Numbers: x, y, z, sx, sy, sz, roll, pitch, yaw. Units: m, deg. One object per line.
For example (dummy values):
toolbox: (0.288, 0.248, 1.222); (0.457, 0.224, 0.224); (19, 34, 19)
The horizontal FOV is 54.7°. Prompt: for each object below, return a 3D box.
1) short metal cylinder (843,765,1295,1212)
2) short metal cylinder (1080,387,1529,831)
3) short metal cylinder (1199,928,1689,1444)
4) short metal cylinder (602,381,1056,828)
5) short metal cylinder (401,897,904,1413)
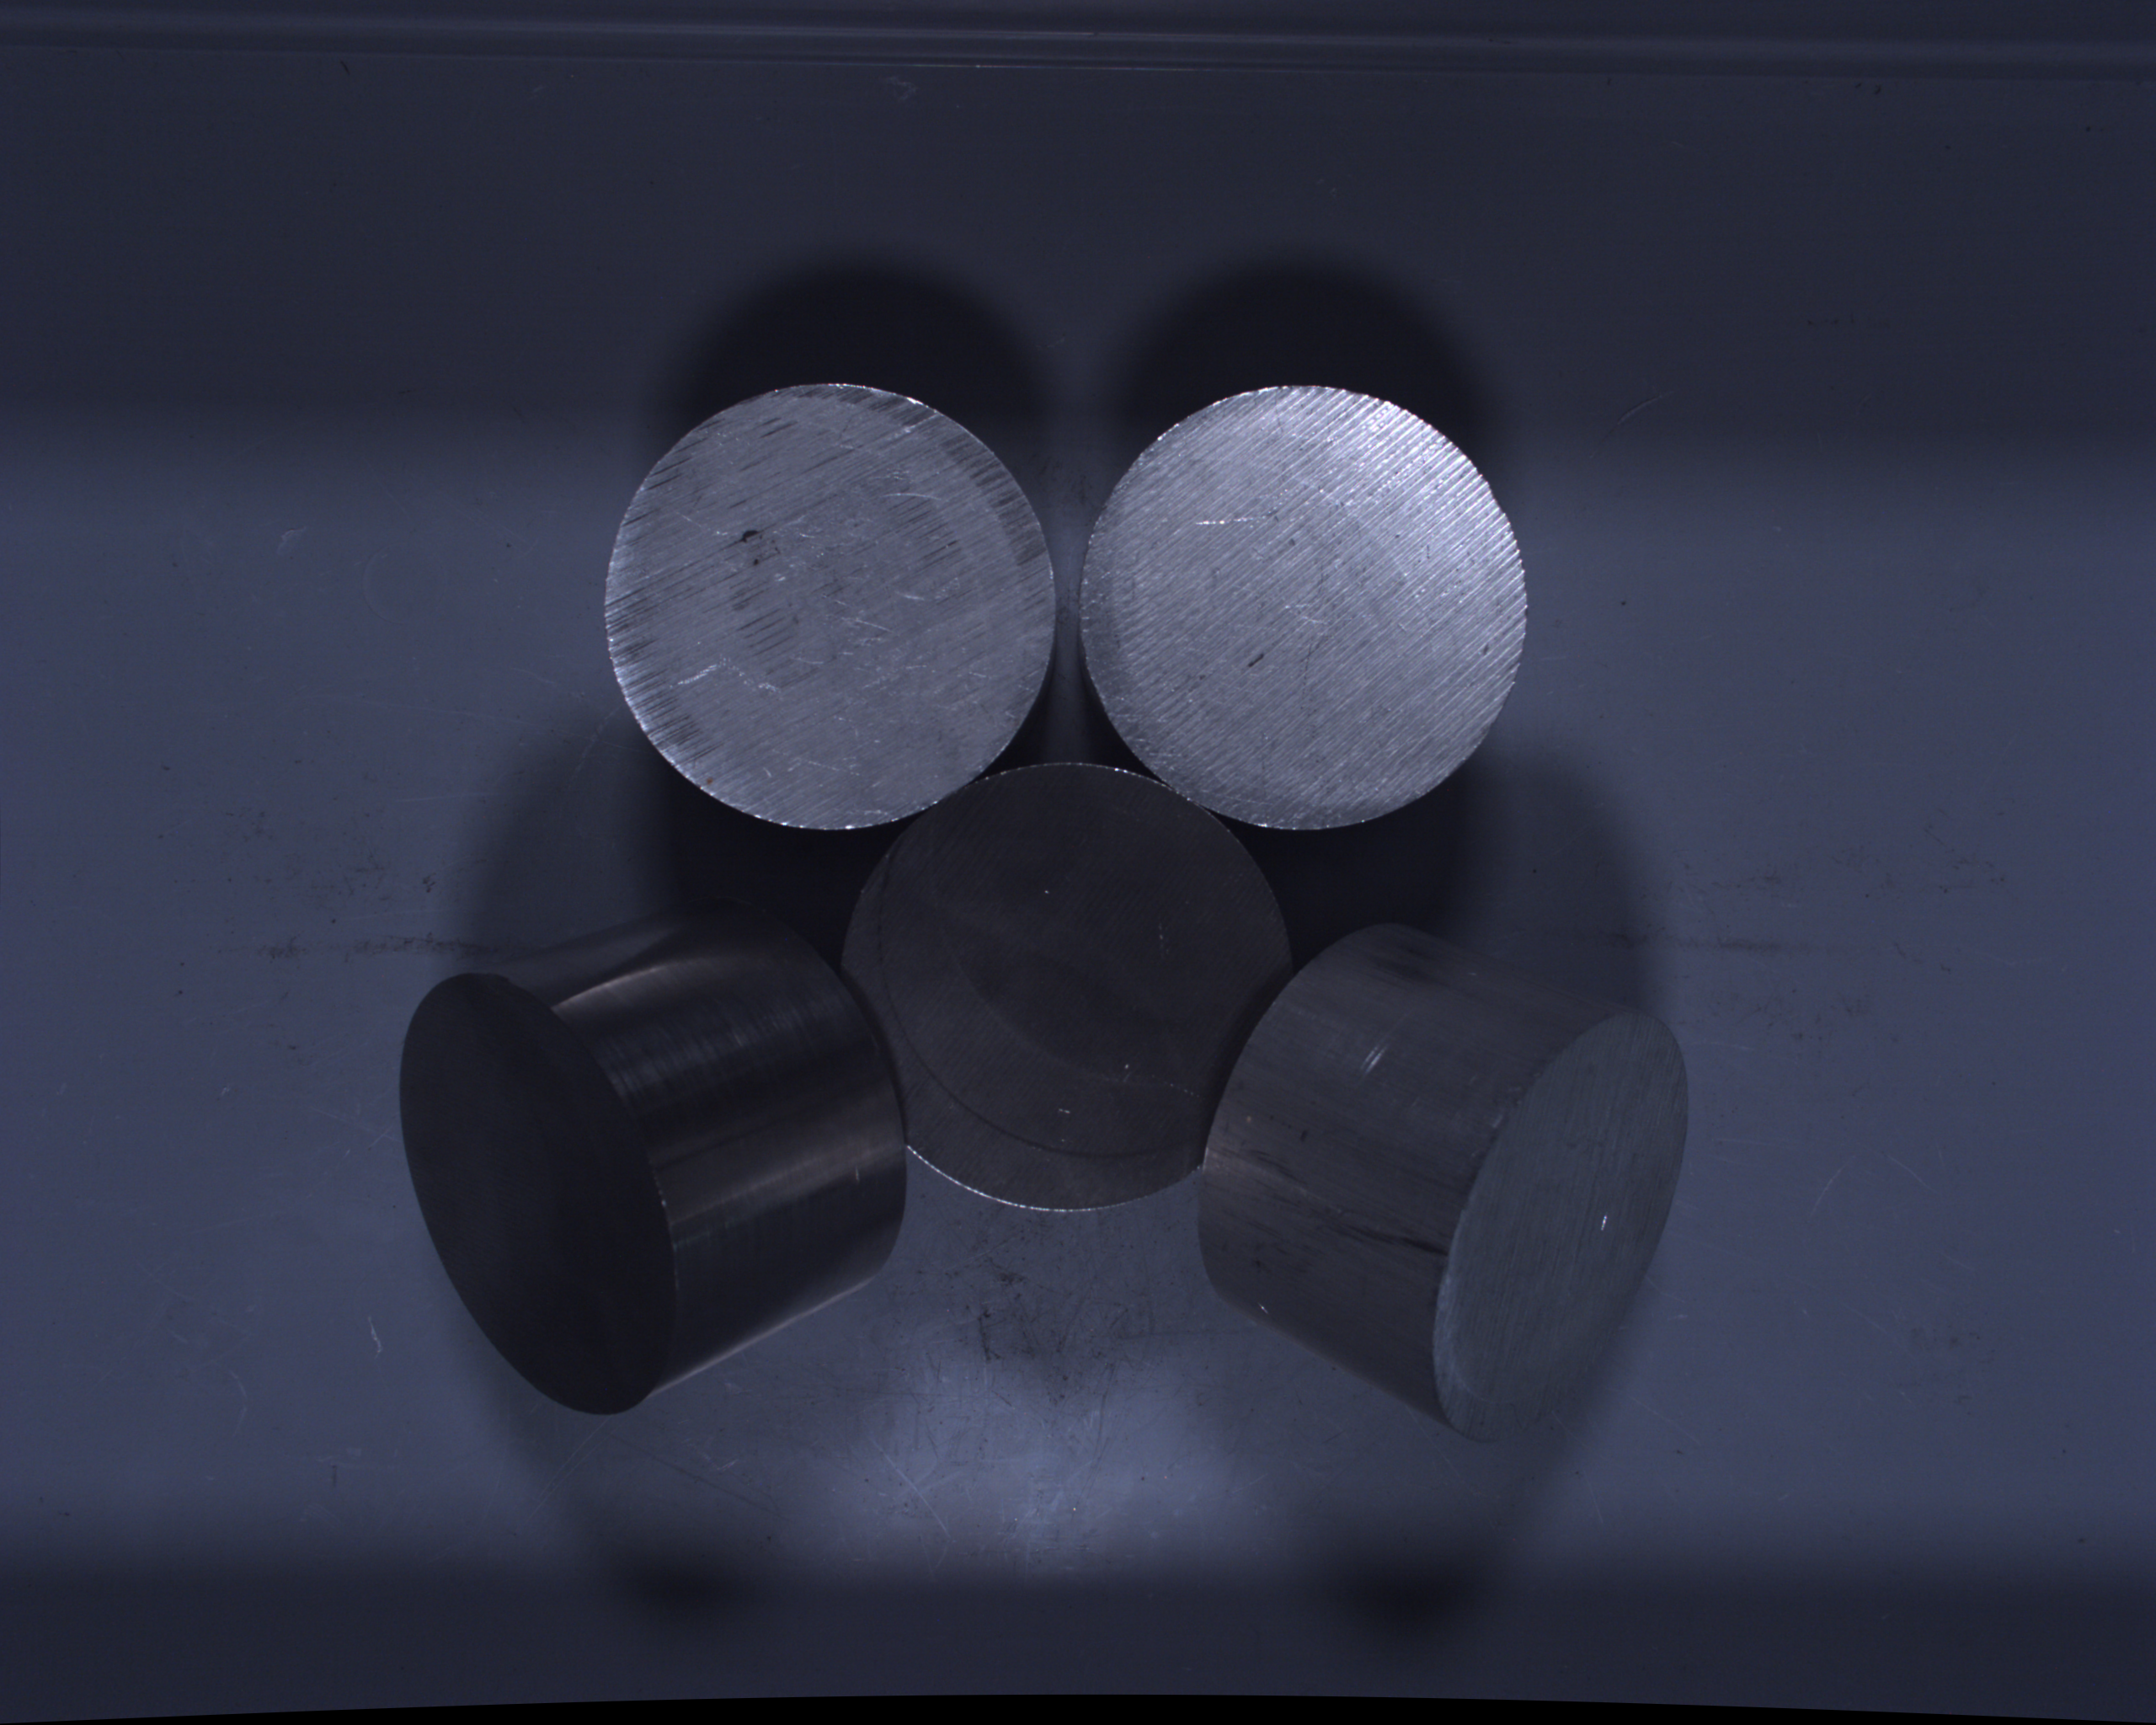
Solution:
short metal cylinder: (-0.002, 0.022, 0.396); (0.081, 0.050, 0.079); (0, 90, -1)
short metal cylinder: (0.040, -0.046, 0.398); (0.081, 0.050, 0.079); (0, 90, -1)
short metal cylinder: (0.067, 0.057, 0.377); (0.050, 0.080, 0.080); (21, 90, 39)
short metal cylinder: (-0.044, -0.046, 0.396); (0.081, 0.050, 0.079); (0, 90, -1)
short metal cylinder: (-0.077, 0.051, 0.376); (0.050, 0.080, 0.080); (-20, 91, -45)
